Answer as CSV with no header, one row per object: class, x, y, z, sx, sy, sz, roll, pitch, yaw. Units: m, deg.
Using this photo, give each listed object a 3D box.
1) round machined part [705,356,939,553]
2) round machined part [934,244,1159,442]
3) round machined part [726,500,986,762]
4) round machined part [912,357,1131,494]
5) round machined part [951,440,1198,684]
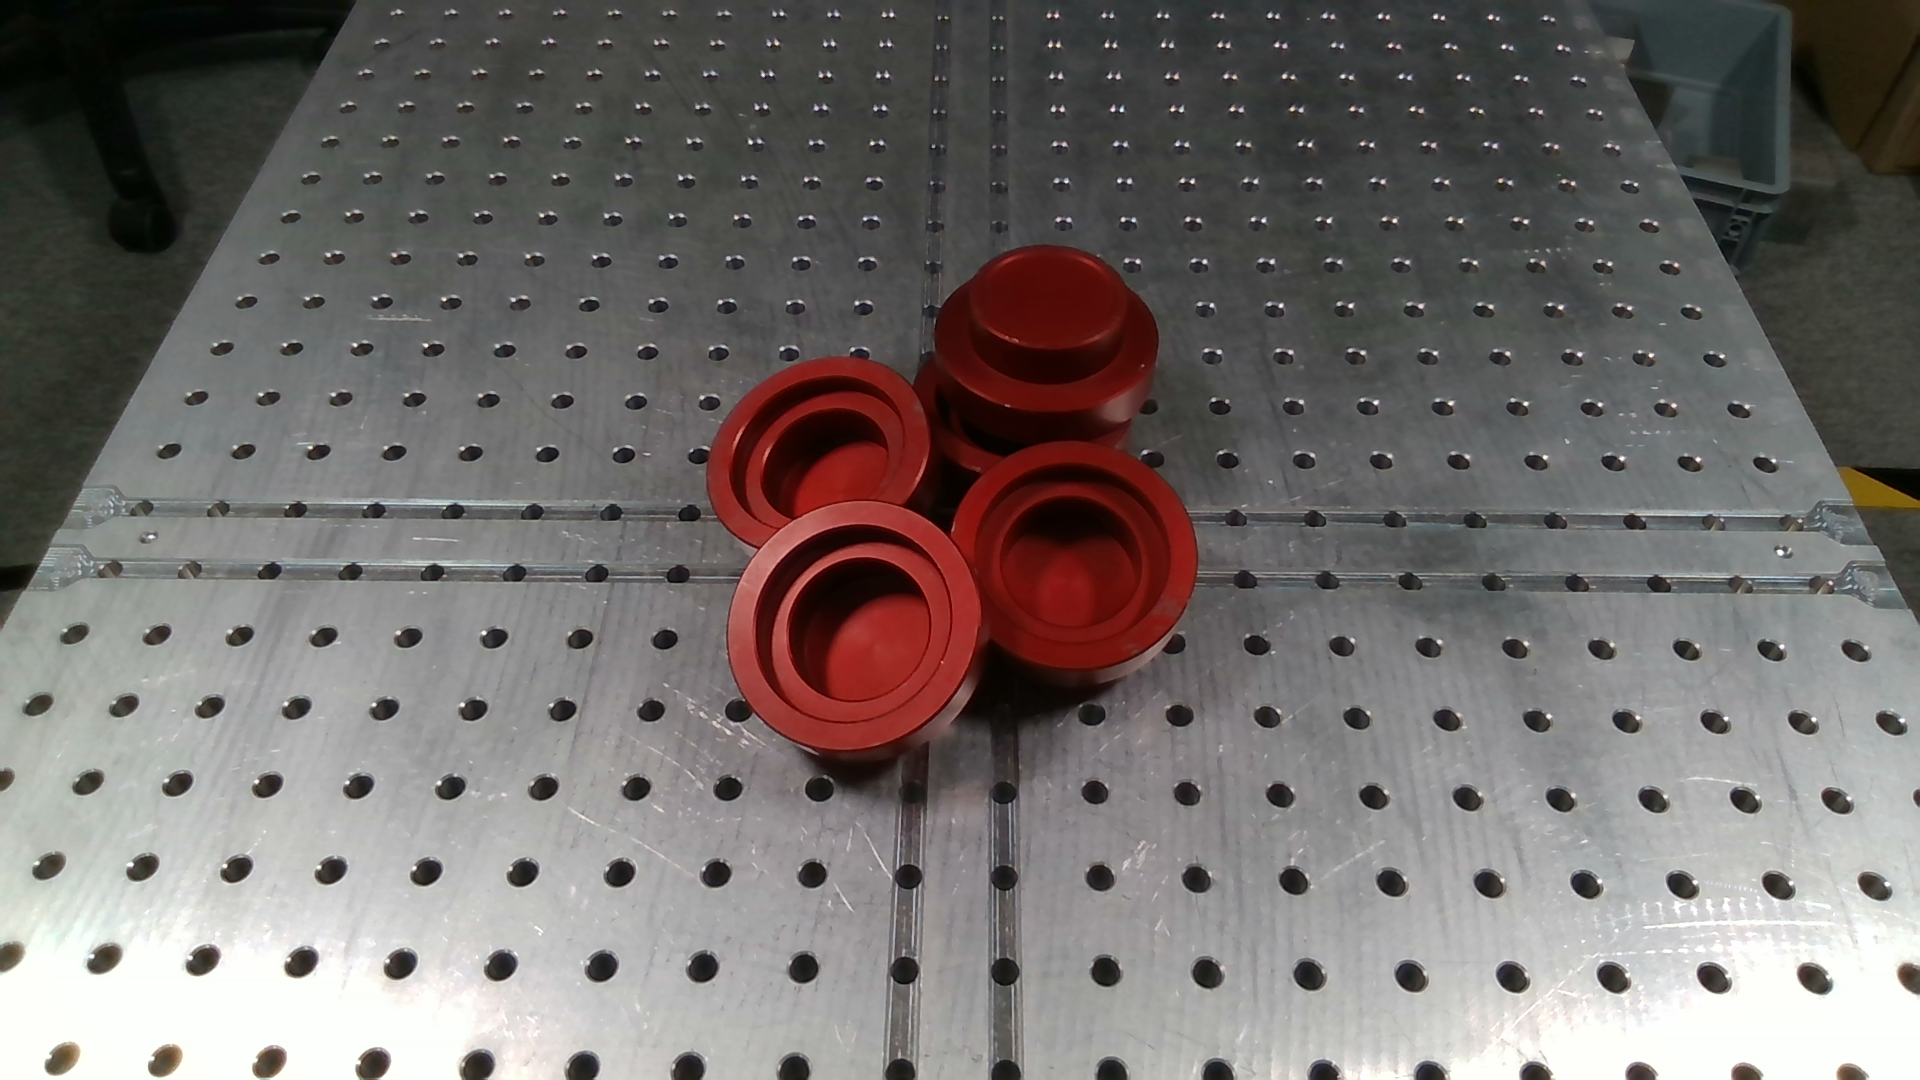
round machined part,-0.056,-0.027,0.590,0.098,0.042,0.098,-7,59,12
round machined part,0.038,-0.091,0.600,0.098,0.042,0.098,0,50,0
round machined part,-0.037,0.037,0.533,0.098,0.042,0.098,-3,71,10
round machined part,0.027,-0.050,0.620,0.098,0.042,0.098,0,50,0
round machined part,0.044,0.012,0.557,0.098,0.042,0.098,0,66,1
